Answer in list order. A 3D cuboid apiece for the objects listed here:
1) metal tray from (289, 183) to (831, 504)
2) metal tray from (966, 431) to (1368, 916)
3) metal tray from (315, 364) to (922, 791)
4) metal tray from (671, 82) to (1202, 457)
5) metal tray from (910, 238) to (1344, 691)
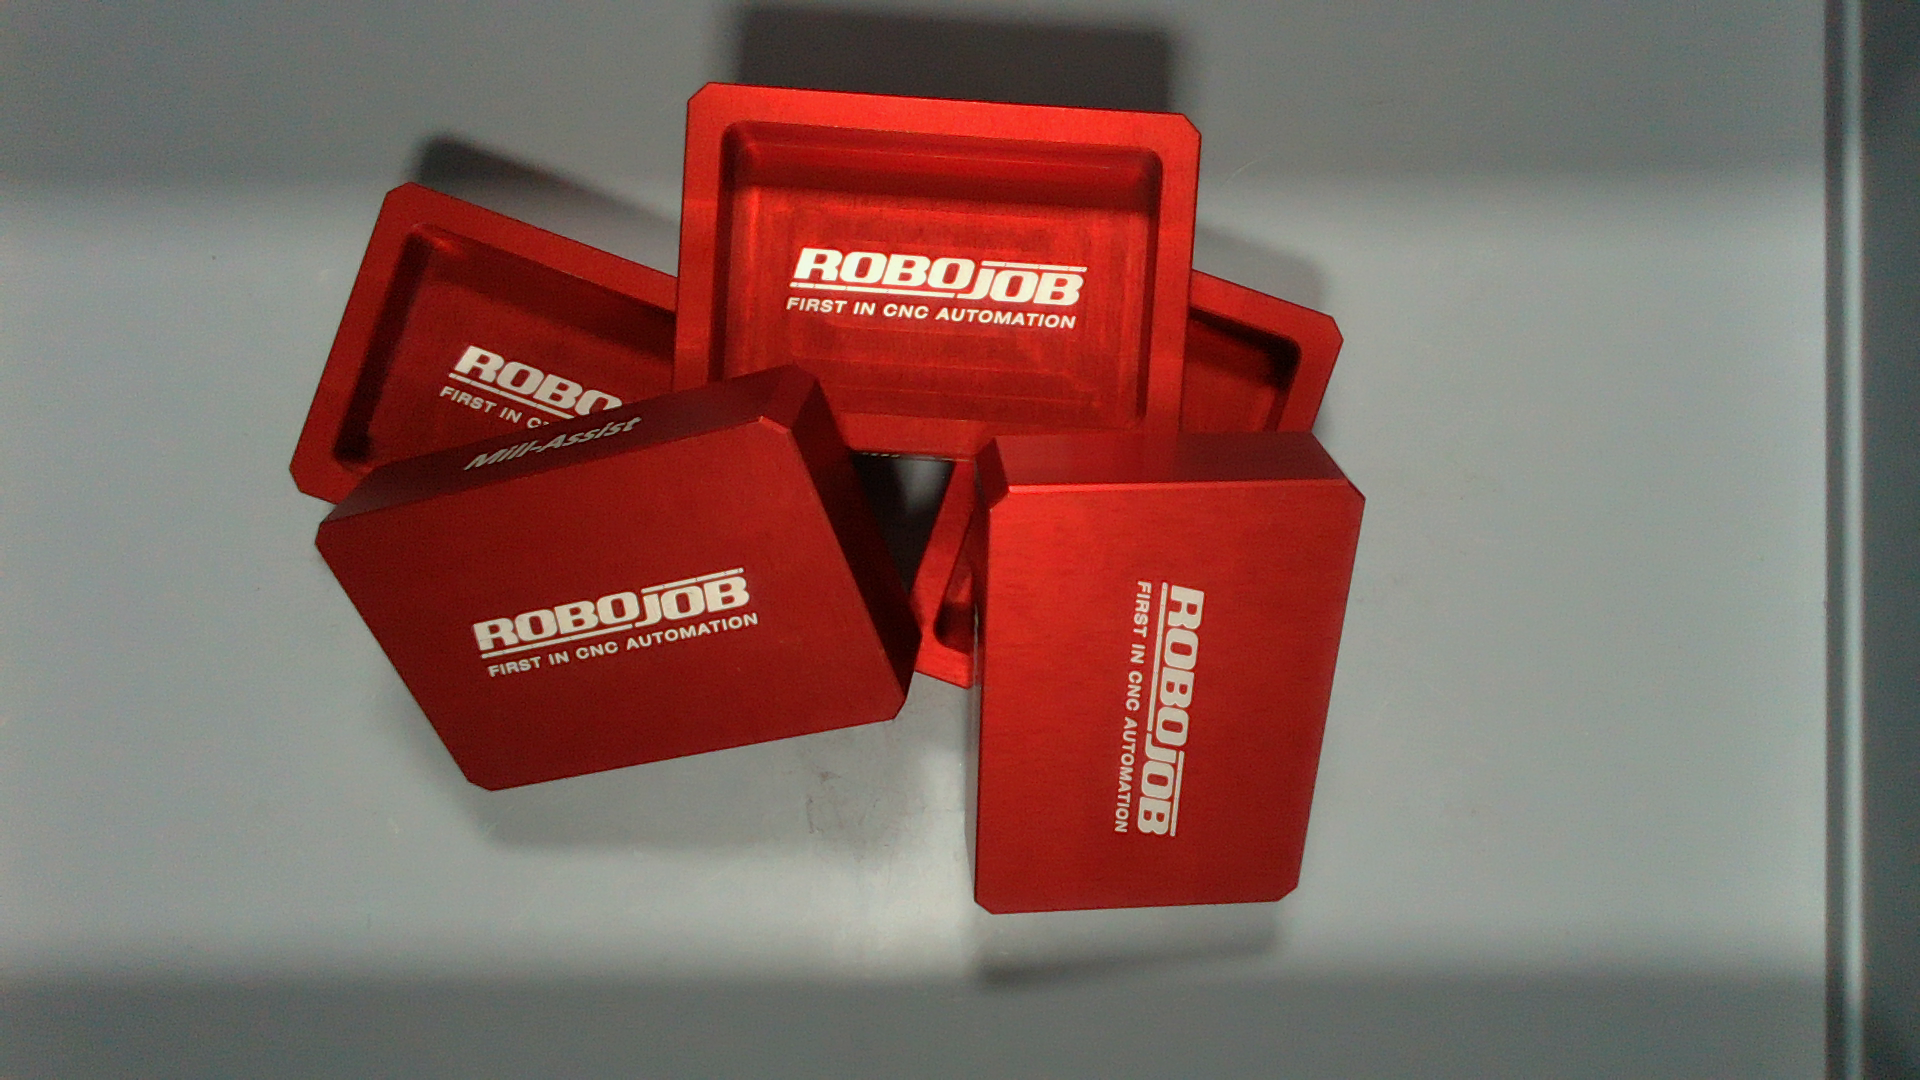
[{"bbox_3d":[-0.108,-0.035,0.390,0.130,0.030,0.090,20,90,0],"label":"metal tray"},{"bbox_3d":[0.049,0.038,0.360,0.090,0.030,0.130,-2,119,-6],"label":"metal tray"},{"bbox_3d":[-0.086,0.014,0.357,0.130,0.030,0.090,-12,120,15],"label":"metal tray"},{"bbox_3d":[-0.006,-0.067,0.361,0.130,0.030,0.090,3,90,0],"label":"metal tray"},{"bbox_3d":[0.043,-0.013,0.391,0.090,0.030,0.130,19,90,0],"label":"metal tray"}]
